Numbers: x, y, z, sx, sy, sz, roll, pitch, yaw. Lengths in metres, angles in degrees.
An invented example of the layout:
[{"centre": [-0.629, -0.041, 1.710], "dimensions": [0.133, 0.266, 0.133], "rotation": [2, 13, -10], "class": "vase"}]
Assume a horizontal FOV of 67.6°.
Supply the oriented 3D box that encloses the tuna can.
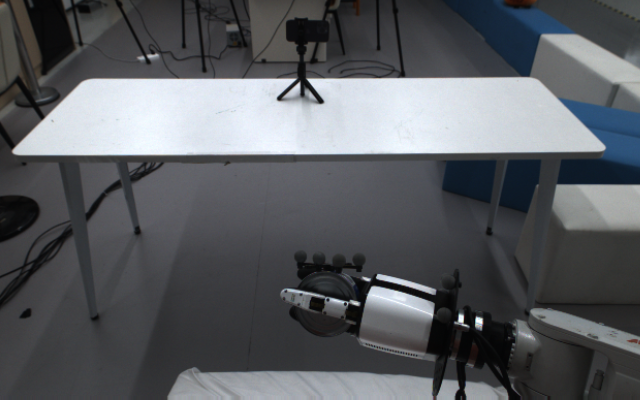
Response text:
[{"centre": [0.013, 0.139, 0.636], "dimensions": [0.085, 0.085, 0.034], "rotation": [12, 0, 14], "class": "tuna can"}]
